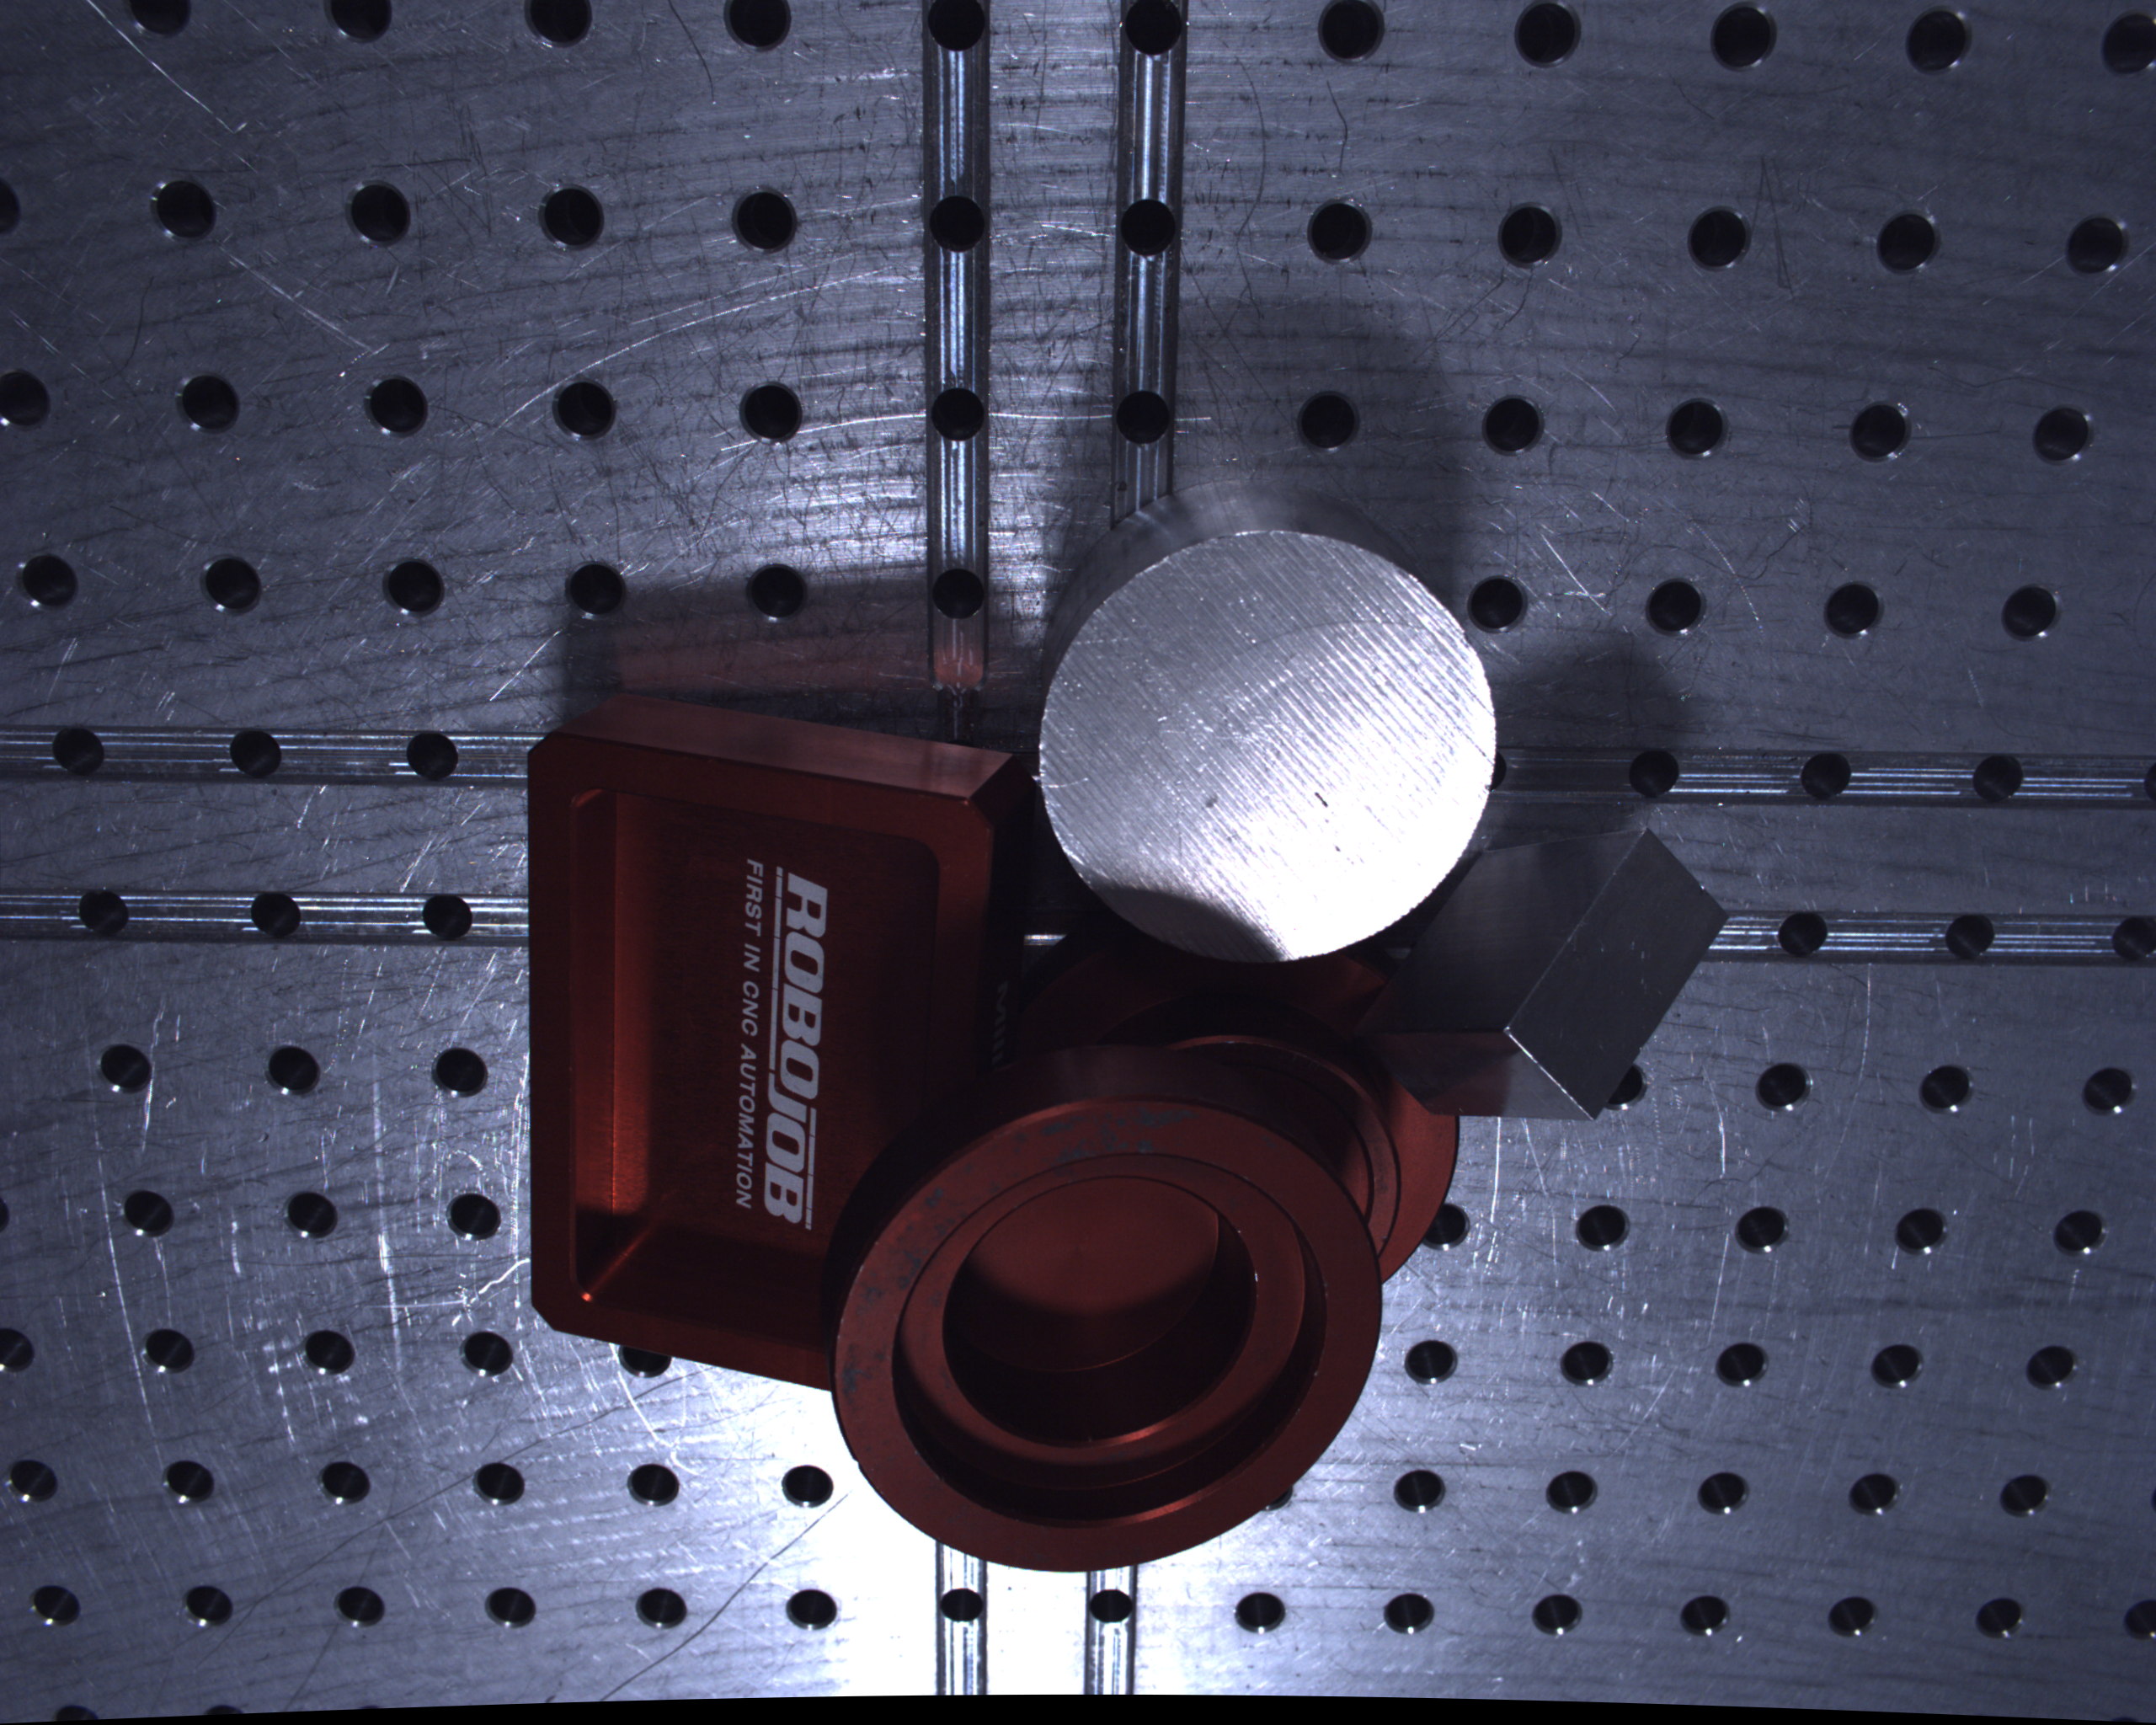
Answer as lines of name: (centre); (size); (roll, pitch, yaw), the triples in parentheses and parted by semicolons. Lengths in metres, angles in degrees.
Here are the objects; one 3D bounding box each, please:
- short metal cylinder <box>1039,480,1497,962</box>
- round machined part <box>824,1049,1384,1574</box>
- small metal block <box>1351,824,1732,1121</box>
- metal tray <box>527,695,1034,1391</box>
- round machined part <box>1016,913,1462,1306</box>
short metal cylinder: (0.033, -0.028, 0.390); (0.081, 0.050, 0.079); (0, 110, -1)
round machined part: (0.003, 0.077, 0.382); (0.099, 0.042, 0.097); (-4, 112, -10)
small metal block: (0.088, 0.022, 0.399); (0.025, 0.050, 0.050); (45, 69, -15)
metal tray: (-0.060, 0.038, 0.412); (0.090, 0.030, 0.129); (9, 110, 11)
round machined part: (0.029, 0.058, 0.425); (0.099, 0.042, 0.097); (0, 110, -1)
